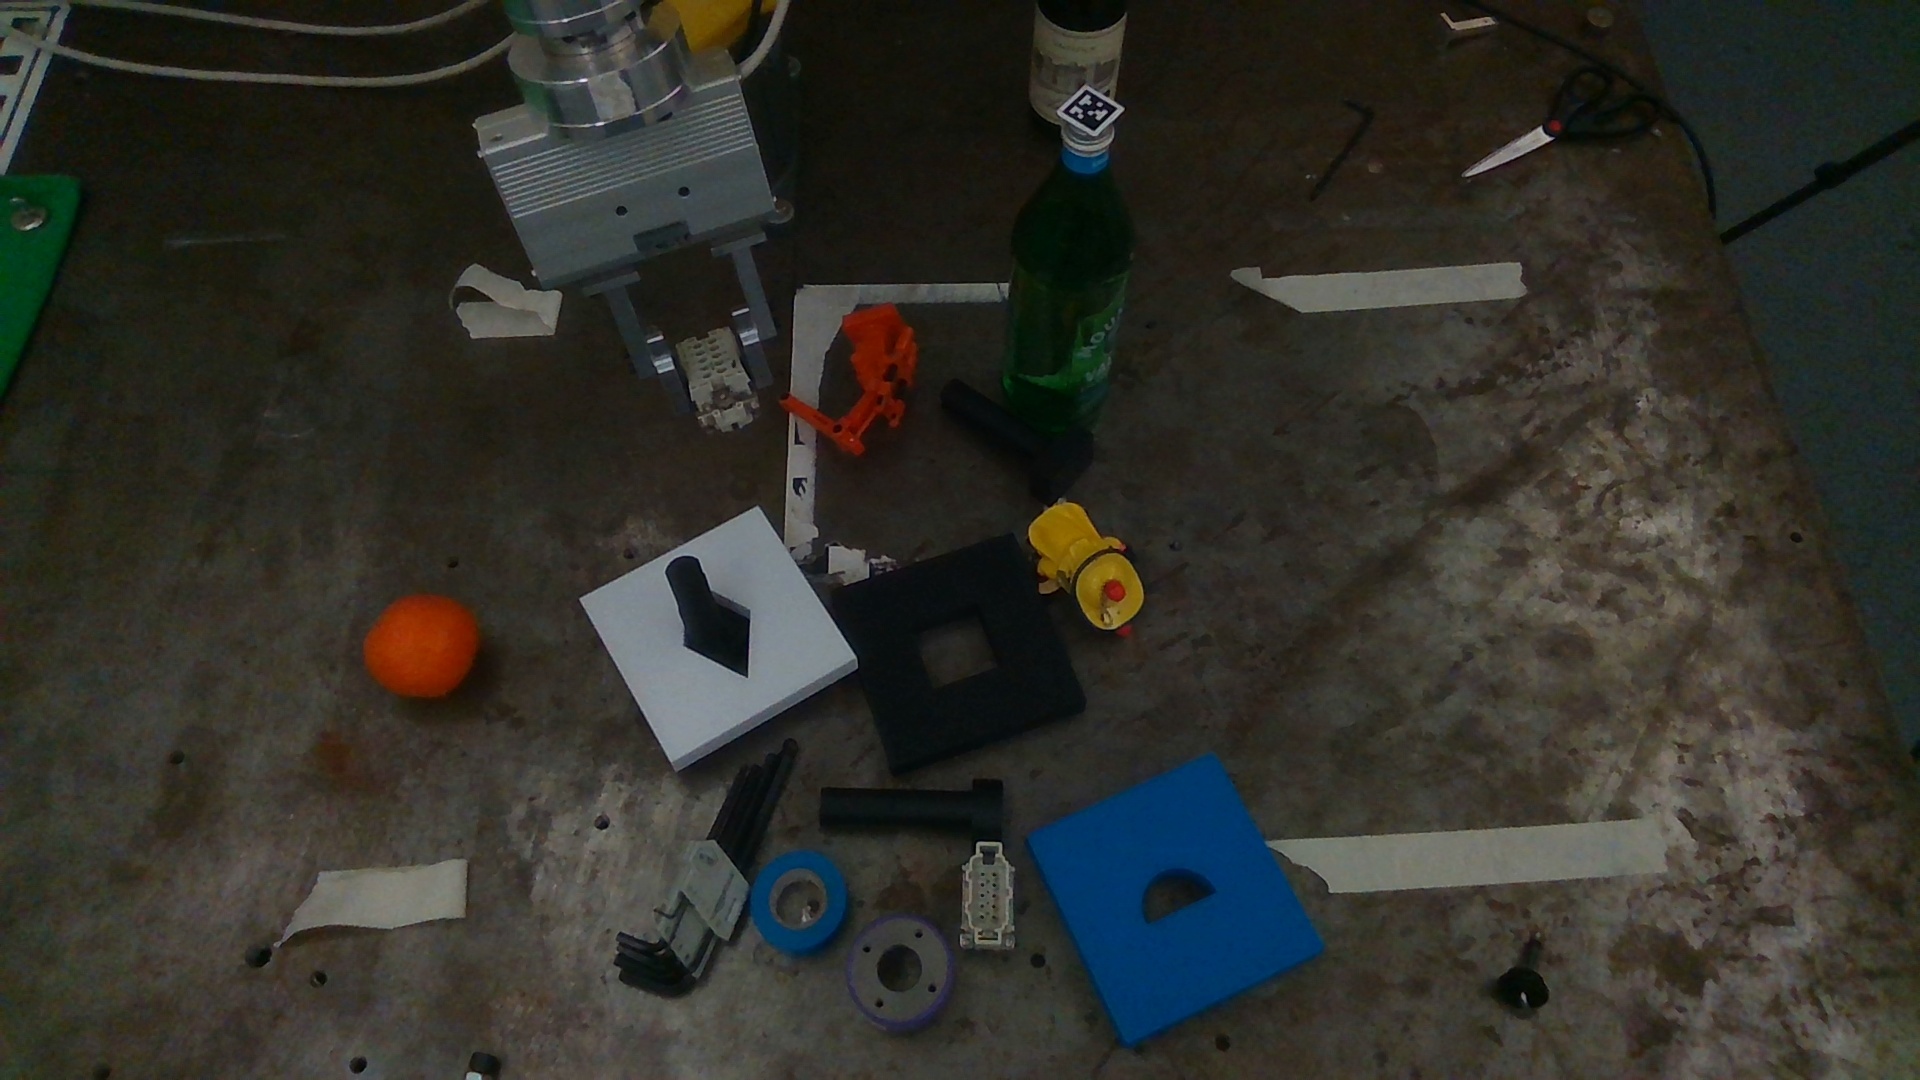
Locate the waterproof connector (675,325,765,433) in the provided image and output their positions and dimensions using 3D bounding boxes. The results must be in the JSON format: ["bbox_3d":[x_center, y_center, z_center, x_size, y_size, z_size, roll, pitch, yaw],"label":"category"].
[{"bbox_3d":[-0.138,-0.091,0.794,0.036,0.038,0.069,-19,52,-10],"label":"waterproof connector"}]
